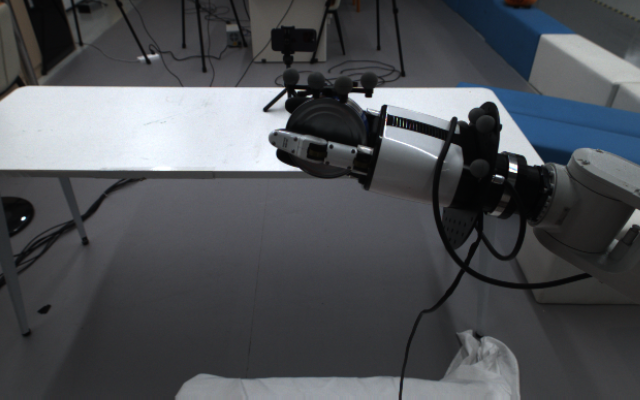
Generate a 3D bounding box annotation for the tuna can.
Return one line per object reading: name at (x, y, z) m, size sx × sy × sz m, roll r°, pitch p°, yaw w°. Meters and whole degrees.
tuna can at (0.010, -0.069, 0.510) m, size 0.085 × 0.085 × 0.034 m, roll 9°, pitch 23°, yaw 9°
